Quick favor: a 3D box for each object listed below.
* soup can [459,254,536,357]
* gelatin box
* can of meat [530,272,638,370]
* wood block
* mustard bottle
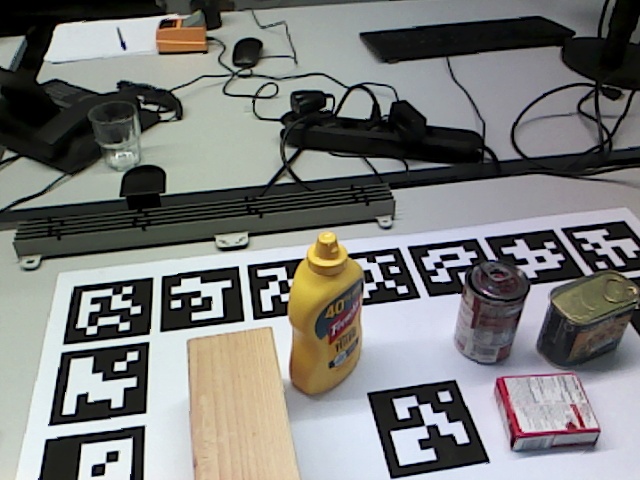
[{"bbox_3d":[0.197,0.076,0.700,0.068,0.102,0.068,-1,42,0],"label":"soup can"},{"bbox_3d":[0.238,0.179,0.640,0.089,0.030,0.073,-2,42,3],"label":"gelatin box"},{"bbox_3d":[0.297,0.094,0.707,0.101,0.083,0.058,-14,43,-19],"label":"can of meat"},{"bbox_3d":[-0.071,0.192,0.590,0.091,0.089,0.207,-5,37,-8],"label":"wood block"},{"bbox_3d":[0.007,0.078,0.651,0.096,0.191,0.059,-24,45,-27],"label":"mustard bottle"}]
